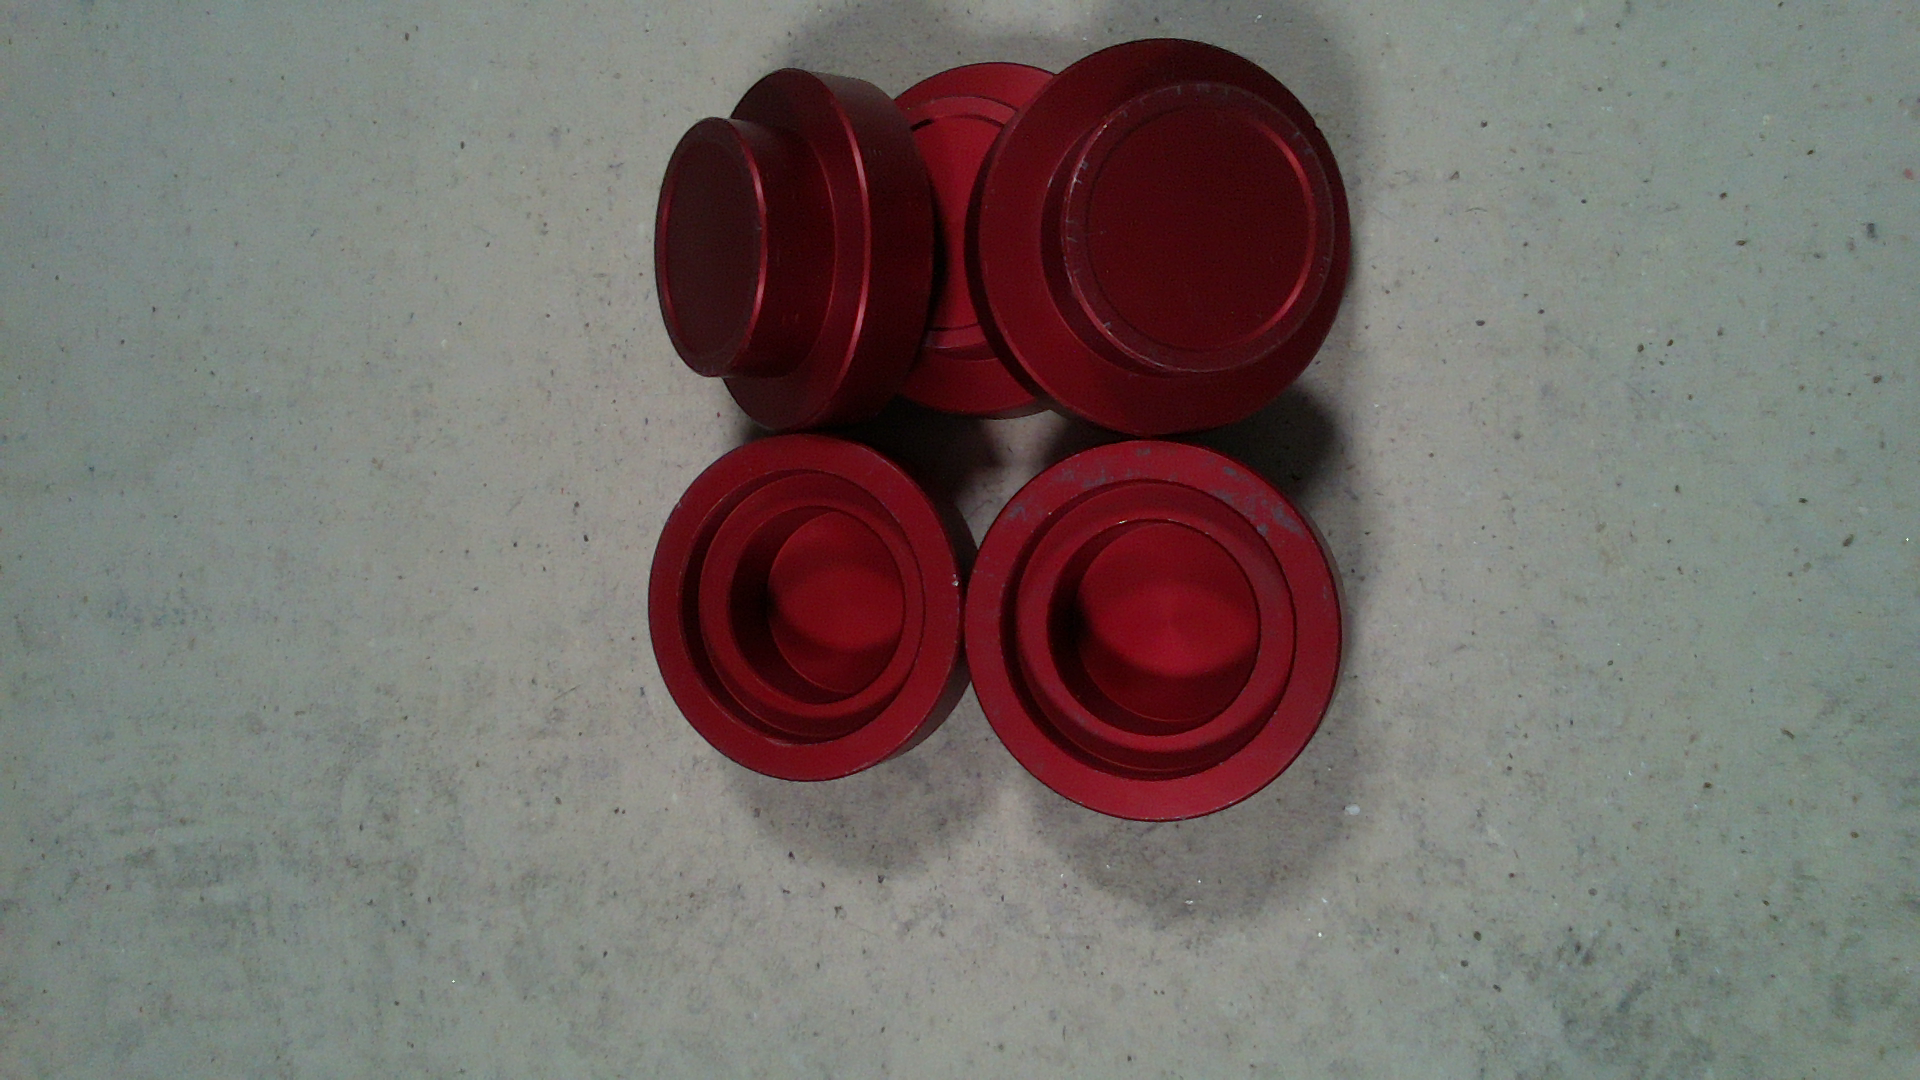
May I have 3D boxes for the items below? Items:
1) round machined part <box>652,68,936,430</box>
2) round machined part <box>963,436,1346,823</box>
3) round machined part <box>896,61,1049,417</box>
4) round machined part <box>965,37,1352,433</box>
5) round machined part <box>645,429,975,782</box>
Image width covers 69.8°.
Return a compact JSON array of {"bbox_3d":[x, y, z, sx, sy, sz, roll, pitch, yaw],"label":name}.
[{"bbox_3d":[-0.052,-0.079,0.380,0.098,0.042,0.098,7,99,53],"label":"round machined part"},{"bbox_3d":[0.054,0.023,0.368,0.098,0.042,0.098,0,90,20],"label":"round machined part"},{"bbox_3d":[0.004,-0.085,0.385,0.098,0.042,0.098,0,90,20],"label":"round machined part"},{"bbox_3d":[0.053,-0.076,0.344,0.098,0.042,0.098,-1,95,-11],"label":"round machined part"},{"bbox_3d":[-0.038,0.018,0.401,0.098,0.042,0.098,0,90,20],"label":"round machined part"}]
